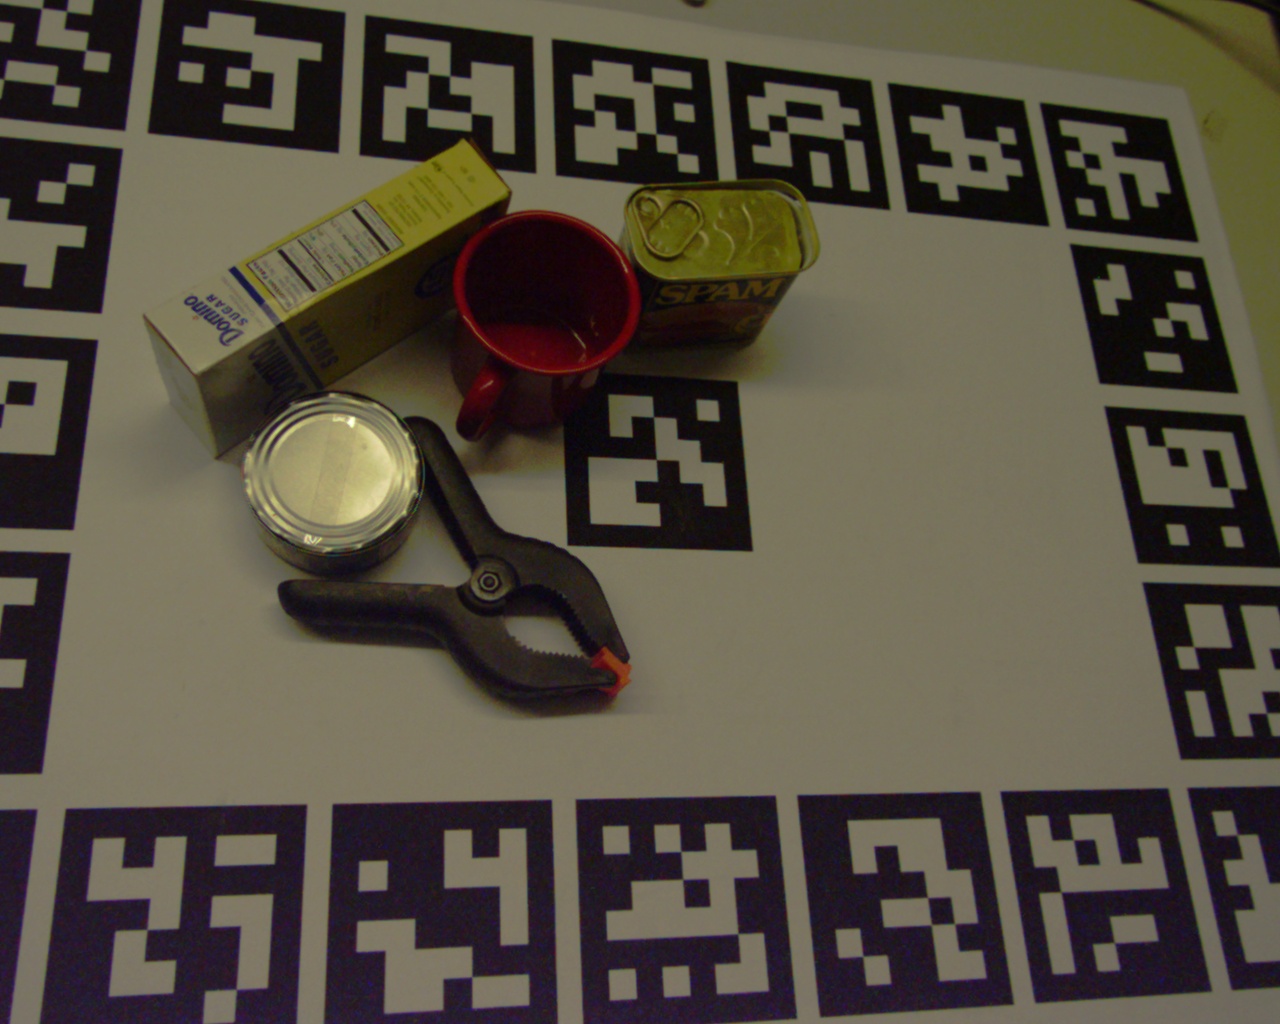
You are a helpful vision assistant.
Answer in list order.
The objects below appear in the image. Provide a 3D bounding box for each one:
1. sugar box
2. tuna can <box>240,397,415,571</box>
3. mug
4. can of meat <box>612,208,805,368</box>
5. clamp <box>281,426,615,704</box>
[{"bbox_3d":[-0.154,-0.103,0.595,0.175,0.093,0.045,-36,82,-24],"label":"sugar box"},{"bbox_3d":[-0.160,-0.013,0.586,0.085,0.034,0.086,4,72,-13],"label":"tuna can"},{"bbox_3d":[-0.063,-0.085,0.608,0.093,0.082,0.117,27,68,-5],"label":"mug"},{"bbox_3d":[0.030,-0.126,0.653,0.101,0.084,0.058,-5,71,-17],"label":"can of meat"},{"bbox_3d":[-0.084,0.044,0.590,0.165,0.037,0.121,37,62,-4],"label":"clamp"}]
